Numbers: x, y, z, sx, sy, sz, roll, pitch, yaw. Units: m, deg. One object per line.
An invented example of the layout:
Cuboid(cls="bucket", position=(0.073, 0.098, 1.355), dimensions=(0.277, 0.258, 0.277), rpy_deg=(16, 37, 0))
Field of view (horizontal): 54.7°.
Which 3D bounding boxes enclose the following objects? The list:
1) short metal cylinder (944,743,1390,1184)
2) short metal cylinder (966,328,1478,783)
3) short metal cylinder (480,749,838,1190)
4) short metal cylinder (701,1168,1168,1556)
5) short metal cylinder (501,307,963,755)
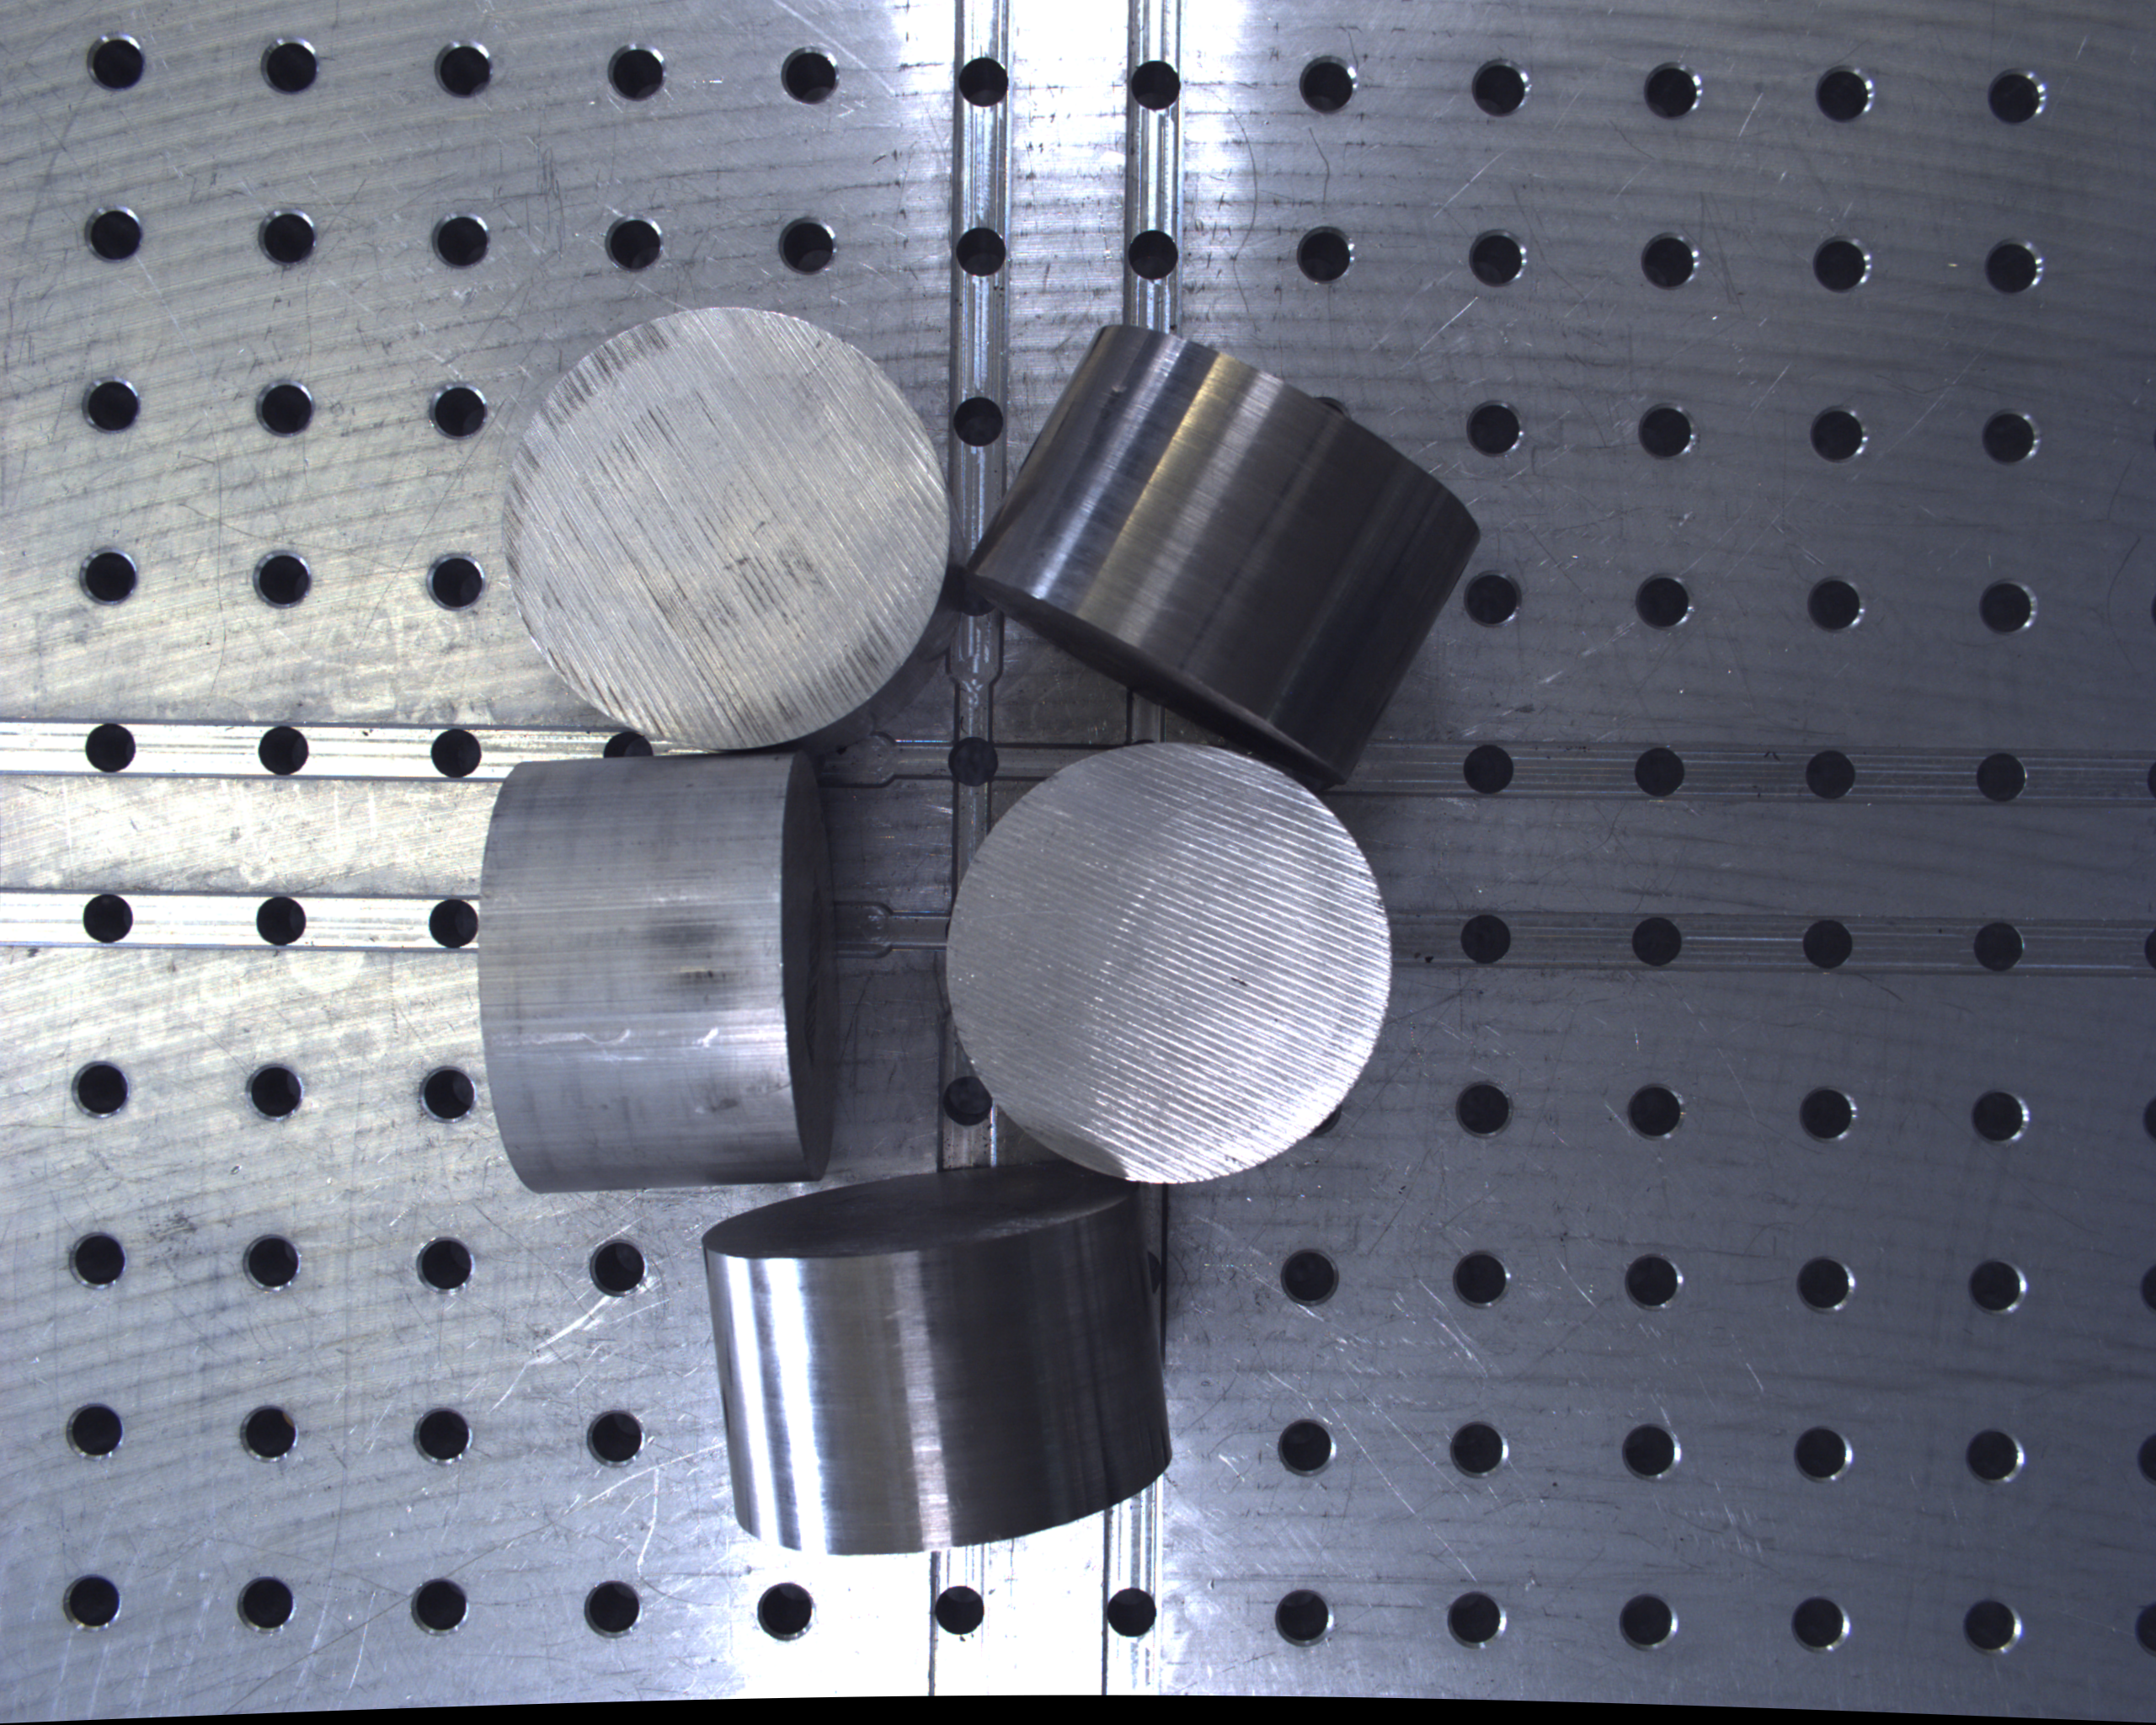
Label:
Cuboid(cls="short metal cylinder", position=(0.016, 0.018, 0.401), dimensions=(0.081, 0.050, 0.079), rpy_deg=(0, 91, -1))
Cuboid(cls="short metal cylinder", position=(0.026, -0.056, 0.386), dimensions=(0.080, 0.080, 0.050), rpy_deg=(28, 89, 0))
Cuboid(cls="short metal cylinder", position=(-0.074, 0.020, 0.386), dimensions=(0.050, 0.080, 0.080), rpy_deg=(-2, 90, -1))
Cuboid(cls="short metal cylinder", position=(-0.026, 0.089, 0.385), dimensions=(0.080, 0.080, 0.050), rpy_deg=(-6, 91, 0))
Cuboid(cls="short metal cylinder", position=(-0.063, -0.060, 0.400), dimensions=(0.080, 0.050, 0.079), rpy_deg=(0, 90, 1))
